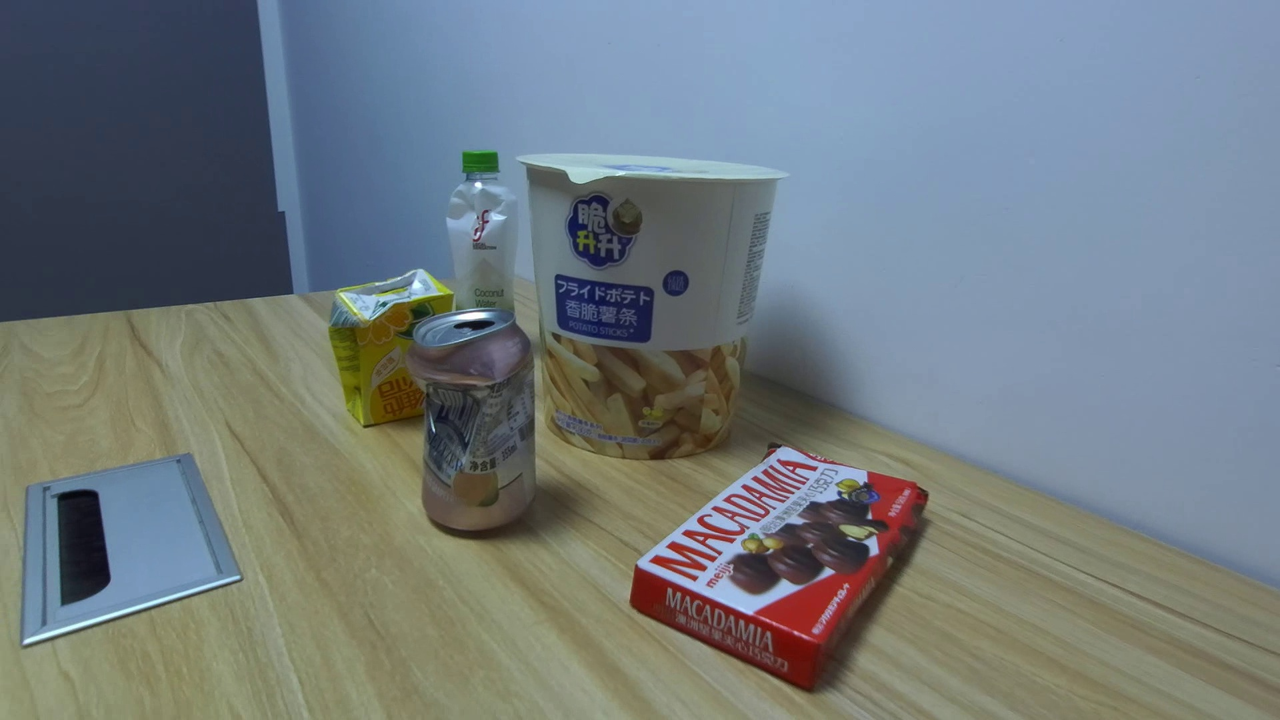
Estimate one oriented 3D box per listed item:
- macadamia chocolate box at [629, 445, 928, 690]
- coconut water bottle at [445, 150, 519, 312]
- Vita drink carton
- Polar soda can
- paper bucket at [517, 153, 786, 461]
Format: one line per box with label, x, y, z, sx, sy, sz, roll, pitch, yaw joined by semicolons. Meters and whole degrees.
macadamia chocolate box;0.085;0.097;0.386;0.105;0.028;0.184;15;22;30
coconut water bottle;-0.141;-0.091;0.641;0.069;0.186;0.069;0;18;0
Vita drink carton;-0.179;-0.005;0.518;0.087;0.108;0.042;-14;38;-33
Polar soda can;-0.097;0.035;0.397;0.071;0.122;0.066;4;24;9
paper bucket;0.007;-0.045;0.523;0.198;0.194;0.198;3;19;-1
